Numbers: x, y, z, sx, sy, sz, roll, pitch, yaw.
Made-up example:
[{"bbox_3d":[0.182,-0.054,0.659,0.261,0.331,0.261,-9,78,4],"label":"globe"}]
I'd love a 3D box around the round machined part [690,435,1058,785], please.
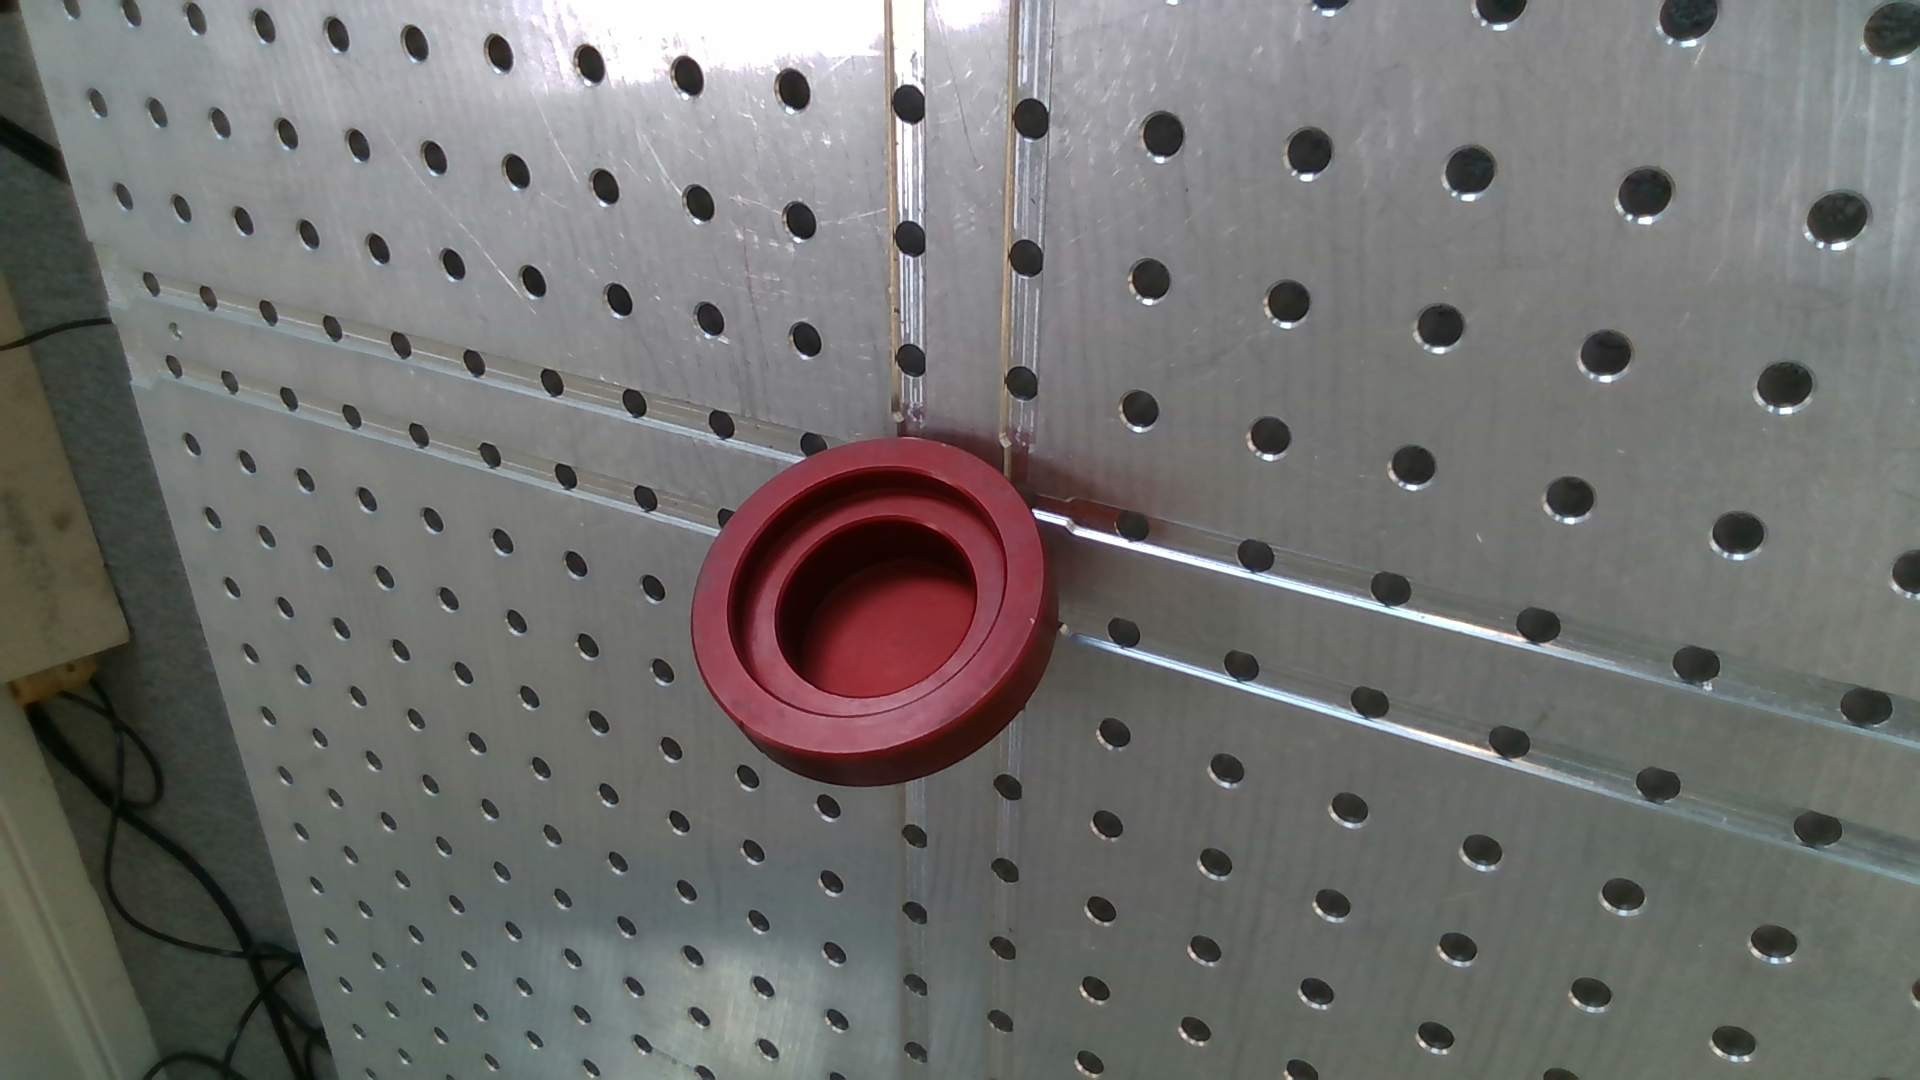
[{"bbox_3d":[-0.021,0.022,0.382,0.098,0.098,0.042,17,154,23],"label":"round machined part"}]
